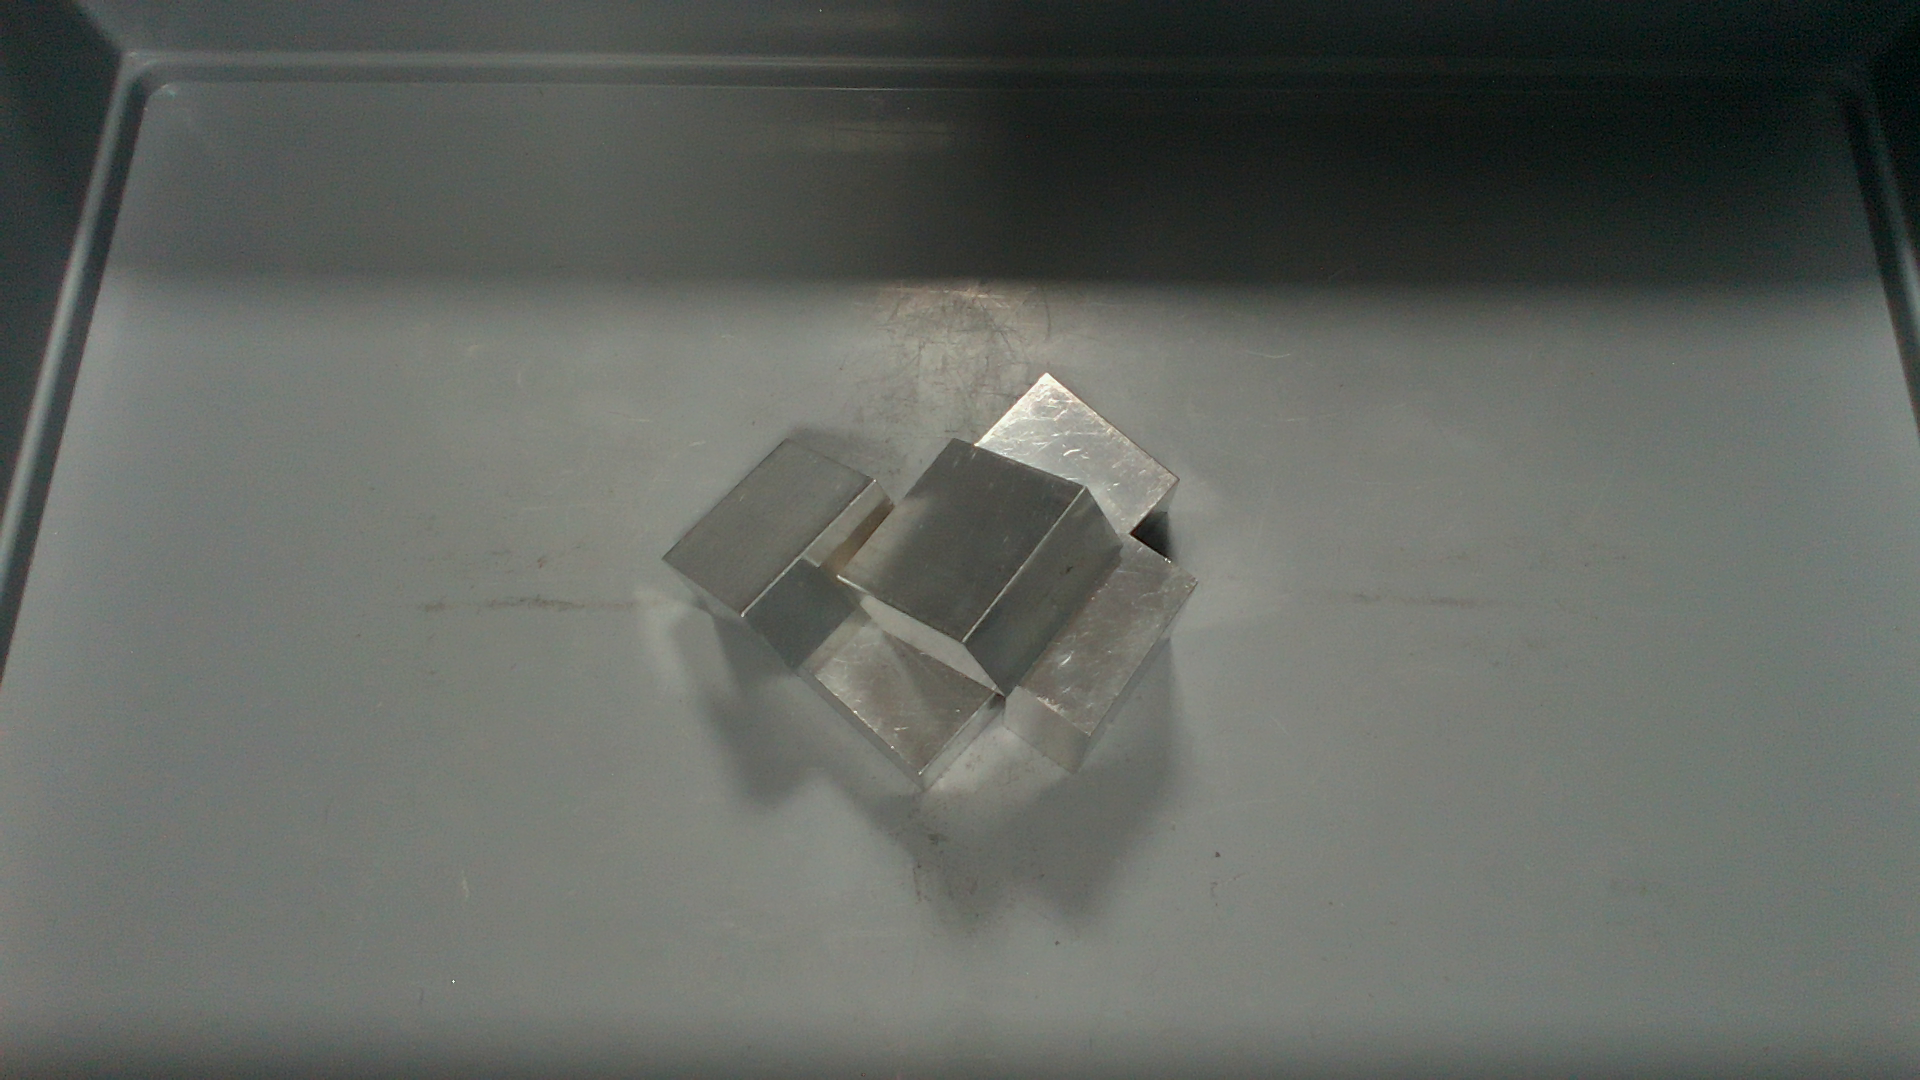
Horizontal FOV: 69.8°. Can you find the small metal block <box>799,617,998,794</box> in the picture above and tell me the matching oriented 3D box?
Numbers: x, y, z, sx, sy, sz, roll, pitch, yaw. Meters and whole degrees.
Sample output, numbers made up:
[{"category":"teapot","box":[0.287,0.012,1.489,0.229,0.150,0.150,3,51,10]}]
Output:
[{"category":"small metal block","box":[-0.012,0.033,0.381,0.050,0.025,0.050,40,75,13]}]

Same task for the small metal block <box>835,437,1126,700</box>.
[{"category":"small metal block","box":[0.005,0.006,0.352,0.050,0.025,0.050,23,68,44]}]

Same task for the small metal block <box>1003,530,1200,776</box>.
[{"category":"small metal block","box":[0.037,0.031,0.369,0.025,0.050,0.050,33,73,12]}]

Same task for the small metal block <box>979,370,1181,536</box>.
[{"category":"small metal block","box":[0.027,-0.012,0.397,0.050,0.025,0.050,40,75,13]}]

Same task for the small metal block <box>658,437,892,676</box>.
[{"category":"small metal block","box":[-0.048,0.003,0.379,0.050,0.025,0.050,-46,38,-14]}]
